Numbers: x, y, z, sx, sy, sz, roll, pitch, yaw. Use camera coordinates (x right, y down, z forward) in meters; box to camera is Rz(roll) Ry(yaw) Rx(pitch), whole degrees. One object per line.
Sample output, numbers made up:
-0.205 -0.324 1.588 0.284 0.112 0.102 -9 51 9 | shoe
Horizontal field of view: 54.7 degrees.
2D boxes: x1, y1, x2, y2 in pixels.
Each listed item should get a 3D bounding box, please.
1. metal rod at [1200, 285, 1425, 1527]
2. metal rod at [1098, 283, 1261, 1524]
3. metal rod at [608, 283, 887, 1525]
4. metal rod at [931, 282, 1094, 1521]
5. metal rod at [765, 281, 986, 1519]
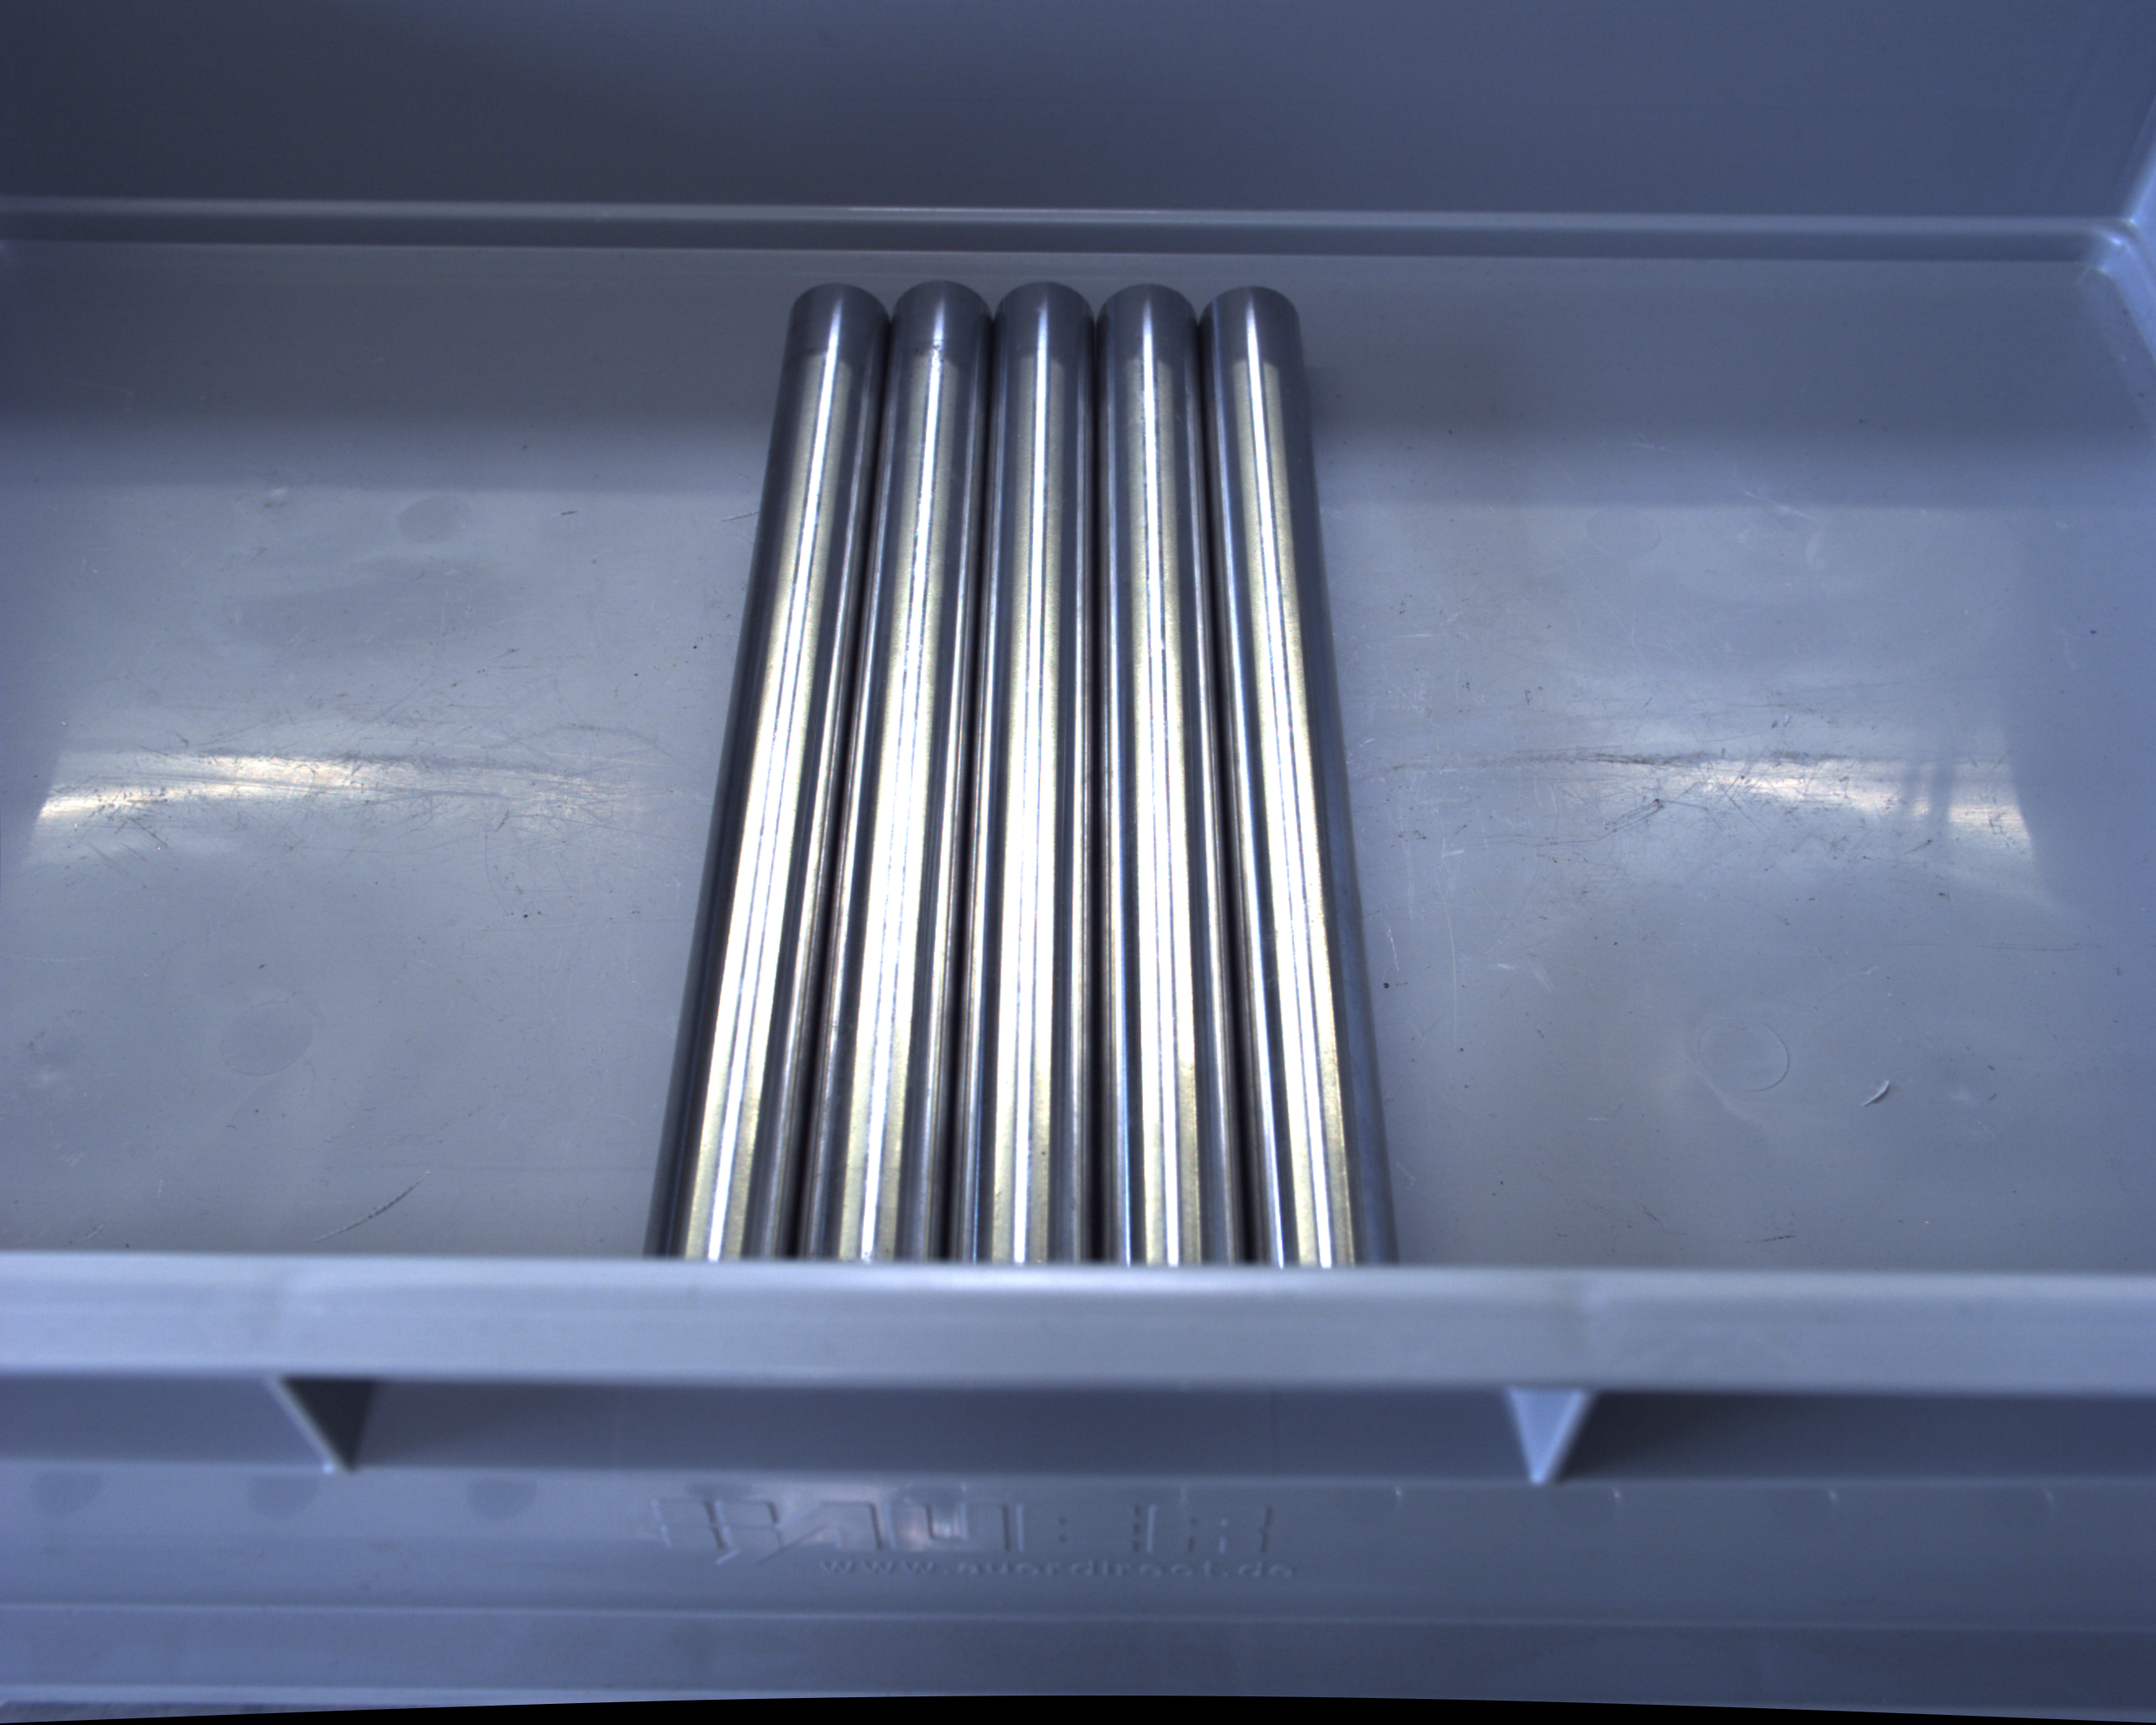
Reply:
0.041 -0.017 0.418 0.025 0.025 0.300 0 50 0 | metal rod
0.016 -0.018 0.418 0.025 0.025 0.300 0 50 0 | metal rod
-0.059 -0.018 0.418 0.025 0.025 0.300 0 50 0 | metal rod
-0.009 -0.018 0.418 0.025 0.025 0.300 0 50 0 | metal rod
-0.035 -0.018 0.418 0.025 0.025 0.300 0 50 0 | metal rod
